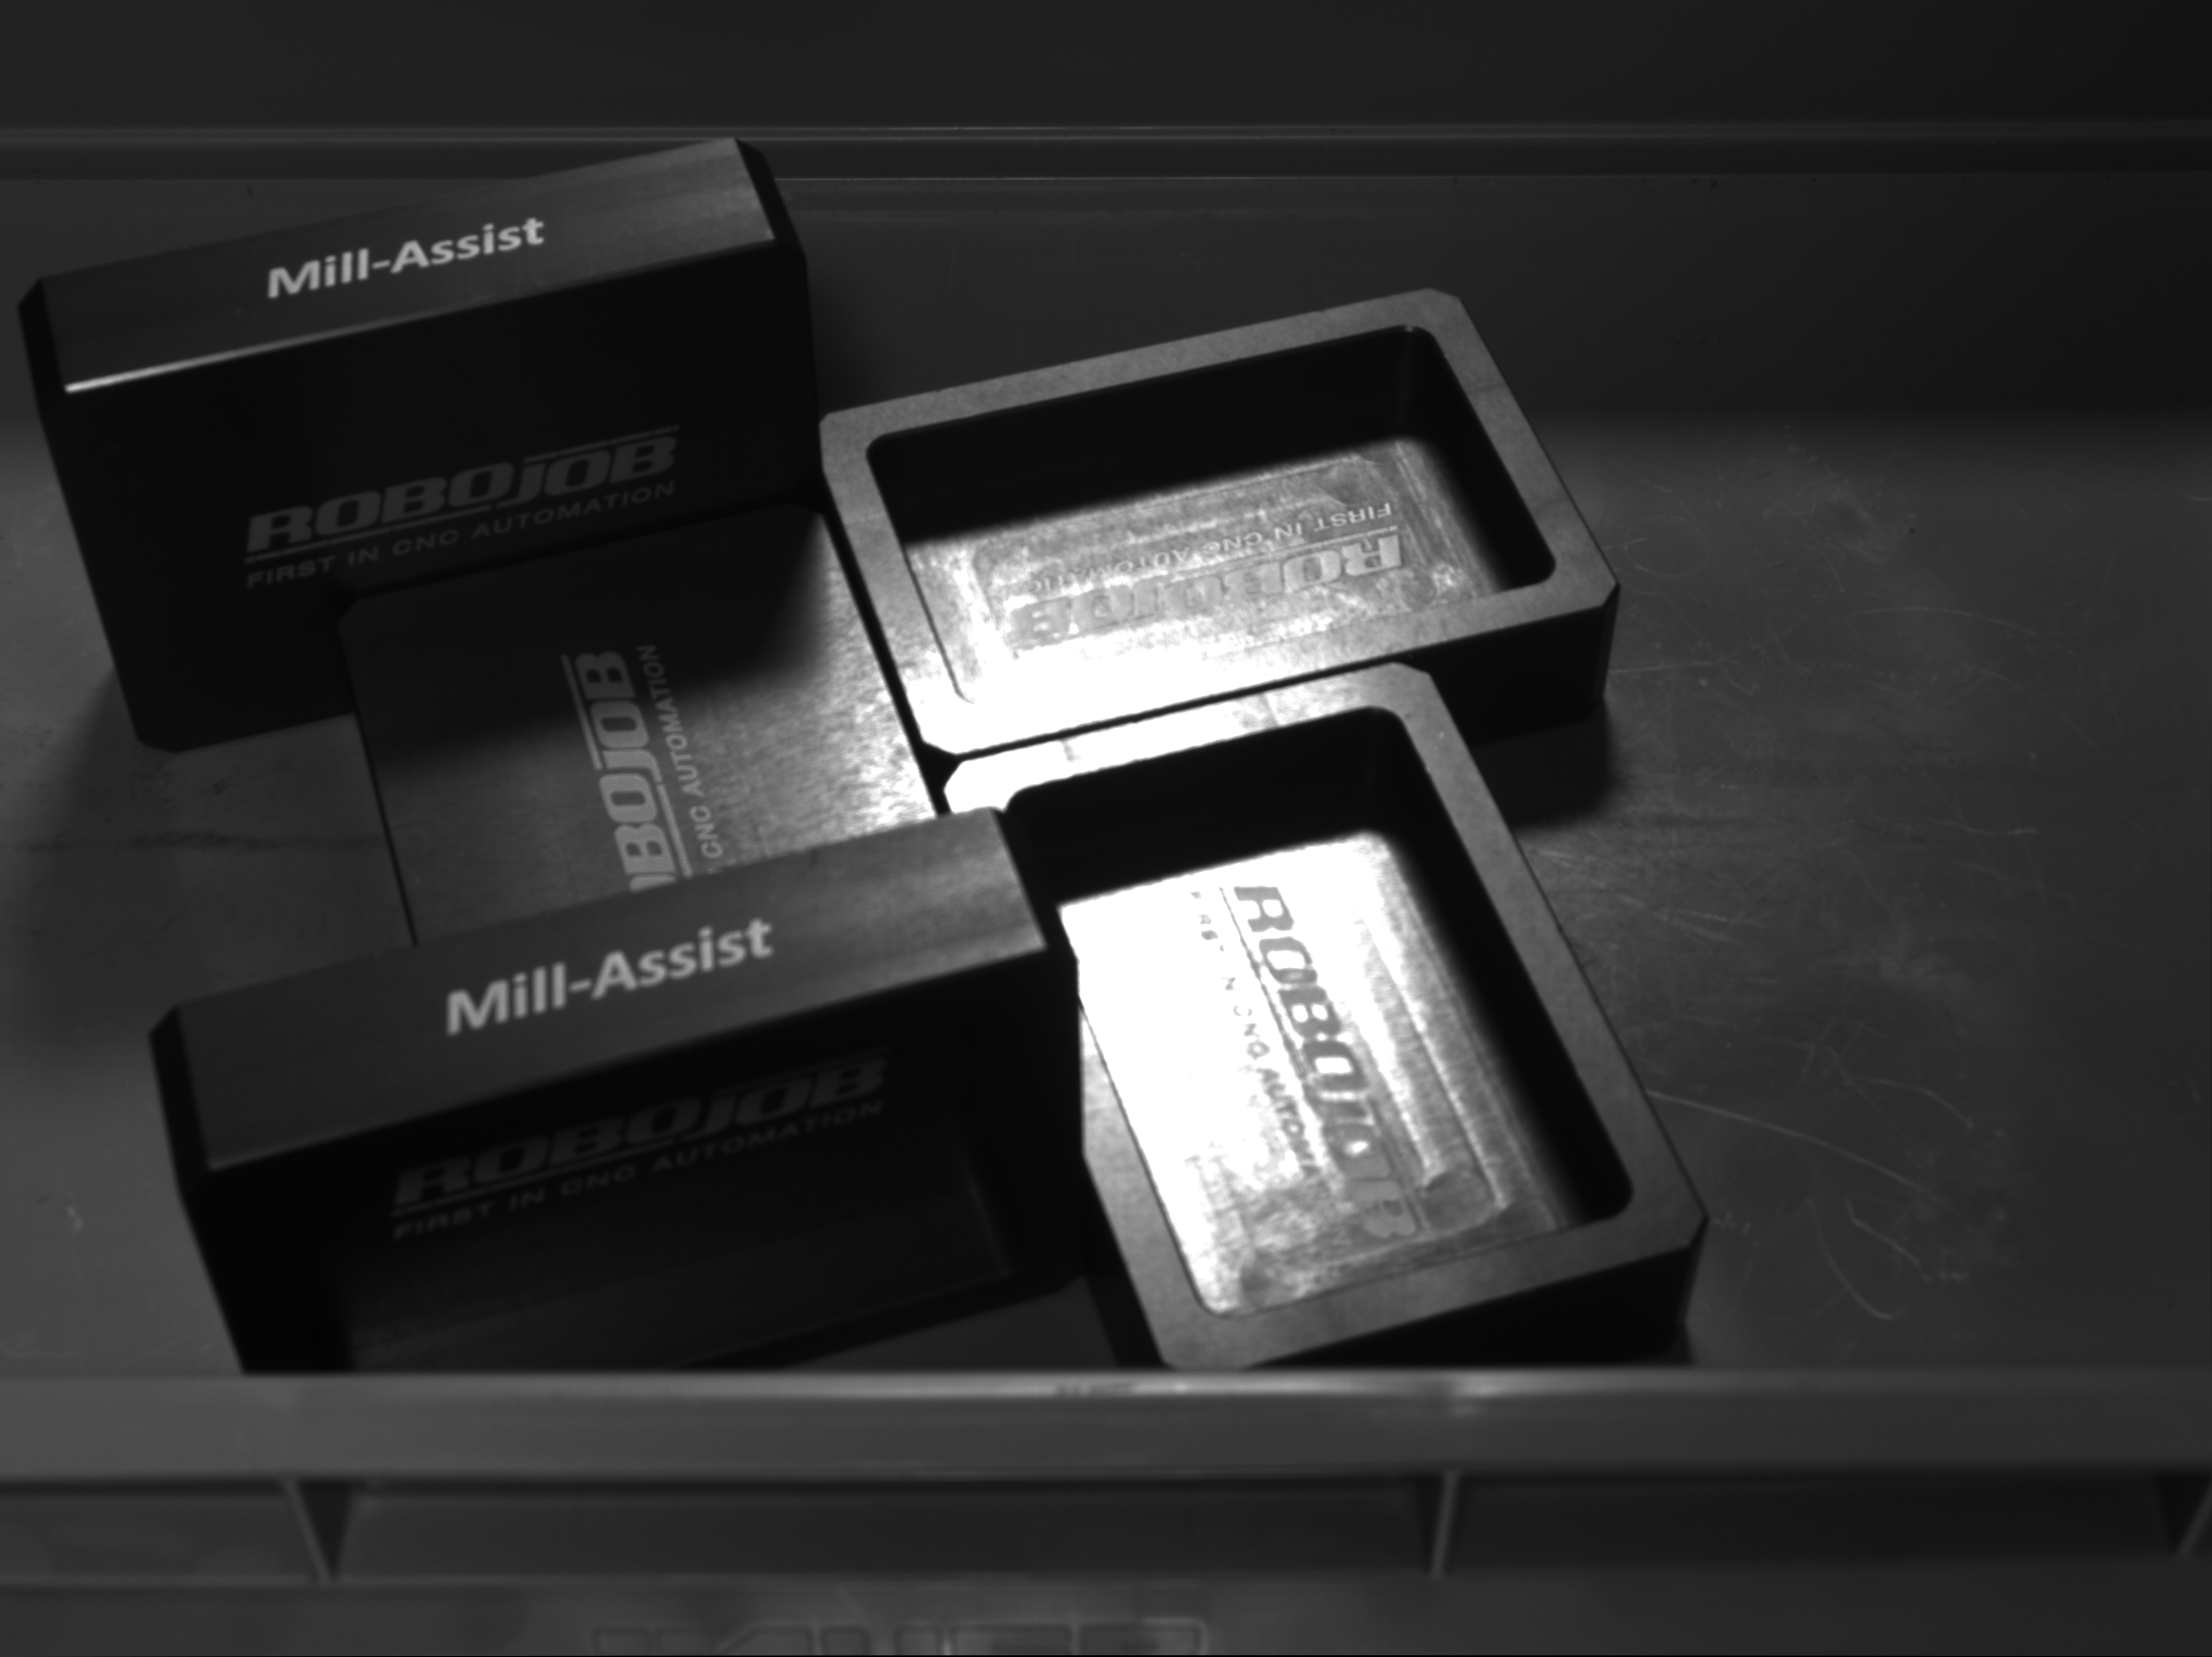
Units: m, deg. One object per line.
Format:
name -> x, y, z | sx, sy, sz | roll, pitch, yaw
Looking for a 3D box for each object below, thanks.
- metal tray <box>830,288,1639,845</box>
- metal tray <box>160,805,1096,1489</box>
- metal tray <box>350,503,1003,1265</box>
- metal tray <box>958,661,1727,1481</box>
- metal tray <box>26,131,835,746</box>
metal tray -> 0.022, -0.049, 0.678 | 0.130, 0.030, 0.090 | -13, 51, -11
metal tray -> -0.068, 0.049, 0.554 | 0.130, 0.090, 0.030 | -13, 51, -11
metal tray -> -0.073, 0.006, 0.631 | 0.090, 0.030, 0.130 | -13, 51, -11
metal tray -> 0.036, 0.036, 0.607 | 0.090, 0.030, 0.130 | -13, 51, -11
metal tray -> -0.116, -0.068, 0.653 | 0.130, 0.090, 0.030 | -14, 51, -12
